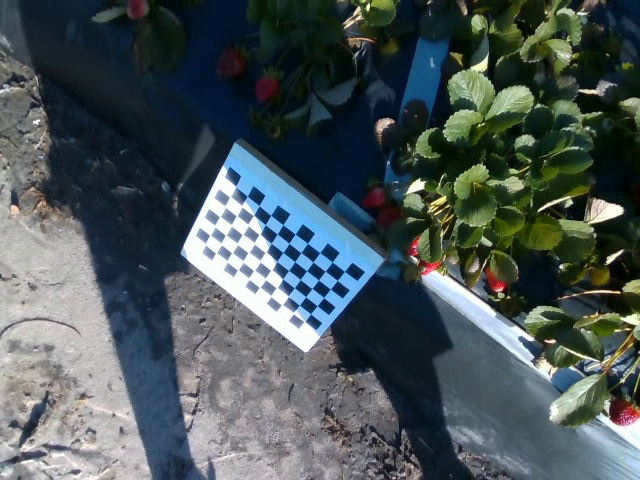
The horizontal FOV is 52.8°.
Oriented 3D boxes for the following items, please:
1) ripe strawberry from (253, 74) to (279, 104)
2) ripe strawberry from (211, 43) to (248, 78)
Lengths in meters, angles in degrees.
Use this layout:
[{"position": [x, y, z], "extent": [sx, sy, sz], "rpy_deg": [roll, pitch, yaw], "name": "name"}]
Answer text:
[{"position": [-0.083, -0.232, 0.988], "extent": [0.042, 0.049, 0.039], "rpy_deg": [3, -32, 31], "name": "ripe strawberry"}, {"position": [-0.143, -0.273, 0.991], "extent": [0.050, 0.051, 0.044], "rpy_deg": [-44, 11, -26], "name": "ripe strawberry"}]
